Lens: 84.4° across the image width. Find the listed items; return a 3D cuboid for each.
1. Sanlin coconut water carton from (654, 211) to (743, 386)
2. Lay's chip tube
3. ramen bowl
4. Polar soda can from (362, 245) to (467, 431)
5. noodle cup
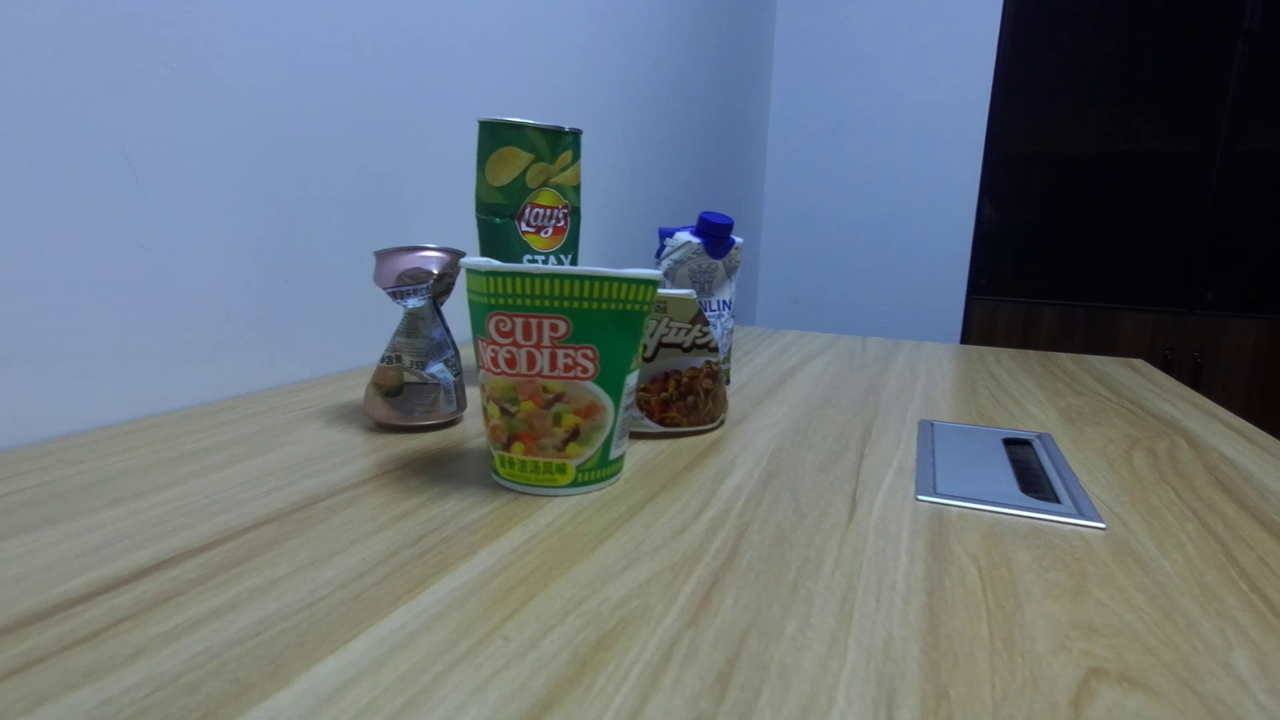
[{"bbox_3d":[0.045,-0.049,0.574,0.078,0.142,0.057,-5,19,-34],"label":"Sanlin coconut water carton"},{"bbox_3d":[-0.084,-0.079,0.549,0.069,0.199,0.075,2,11,4],"label":"Lay's chip tube"},{"bbox_3d":[-0.004,-0.007,0.472,0.137,0.098,0.137,2,8,0],"label":"ramen bowl"},{"bbox_3d":[-0.141,-0.015,0.447,0.074,0.114,0.070,13,9,33],"label":"Polar soda can"},{"bbox_3d":[-0.043,0.005,0.355,0.075,0.122,0.082,-14,27,-30],"label":"noodle cup"}]
